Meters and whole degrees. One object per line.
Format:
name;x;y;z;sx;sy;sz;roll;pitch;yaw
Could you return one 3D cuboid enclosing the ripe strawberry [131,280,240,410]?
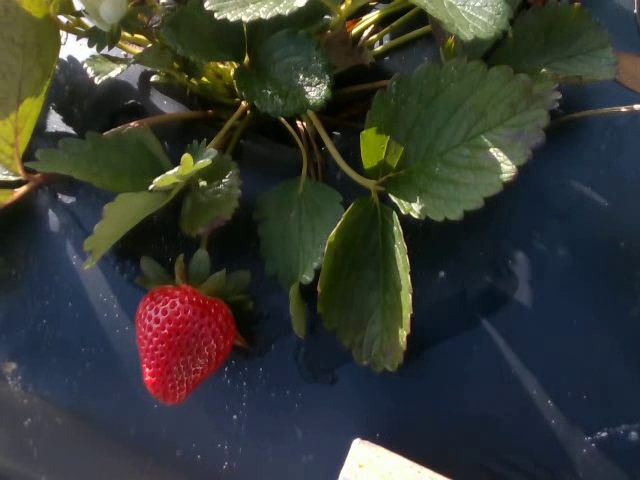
ripe strawberry;-0.046;0.036;0.189;0.041;0.047;0.041;-3;-37;32
